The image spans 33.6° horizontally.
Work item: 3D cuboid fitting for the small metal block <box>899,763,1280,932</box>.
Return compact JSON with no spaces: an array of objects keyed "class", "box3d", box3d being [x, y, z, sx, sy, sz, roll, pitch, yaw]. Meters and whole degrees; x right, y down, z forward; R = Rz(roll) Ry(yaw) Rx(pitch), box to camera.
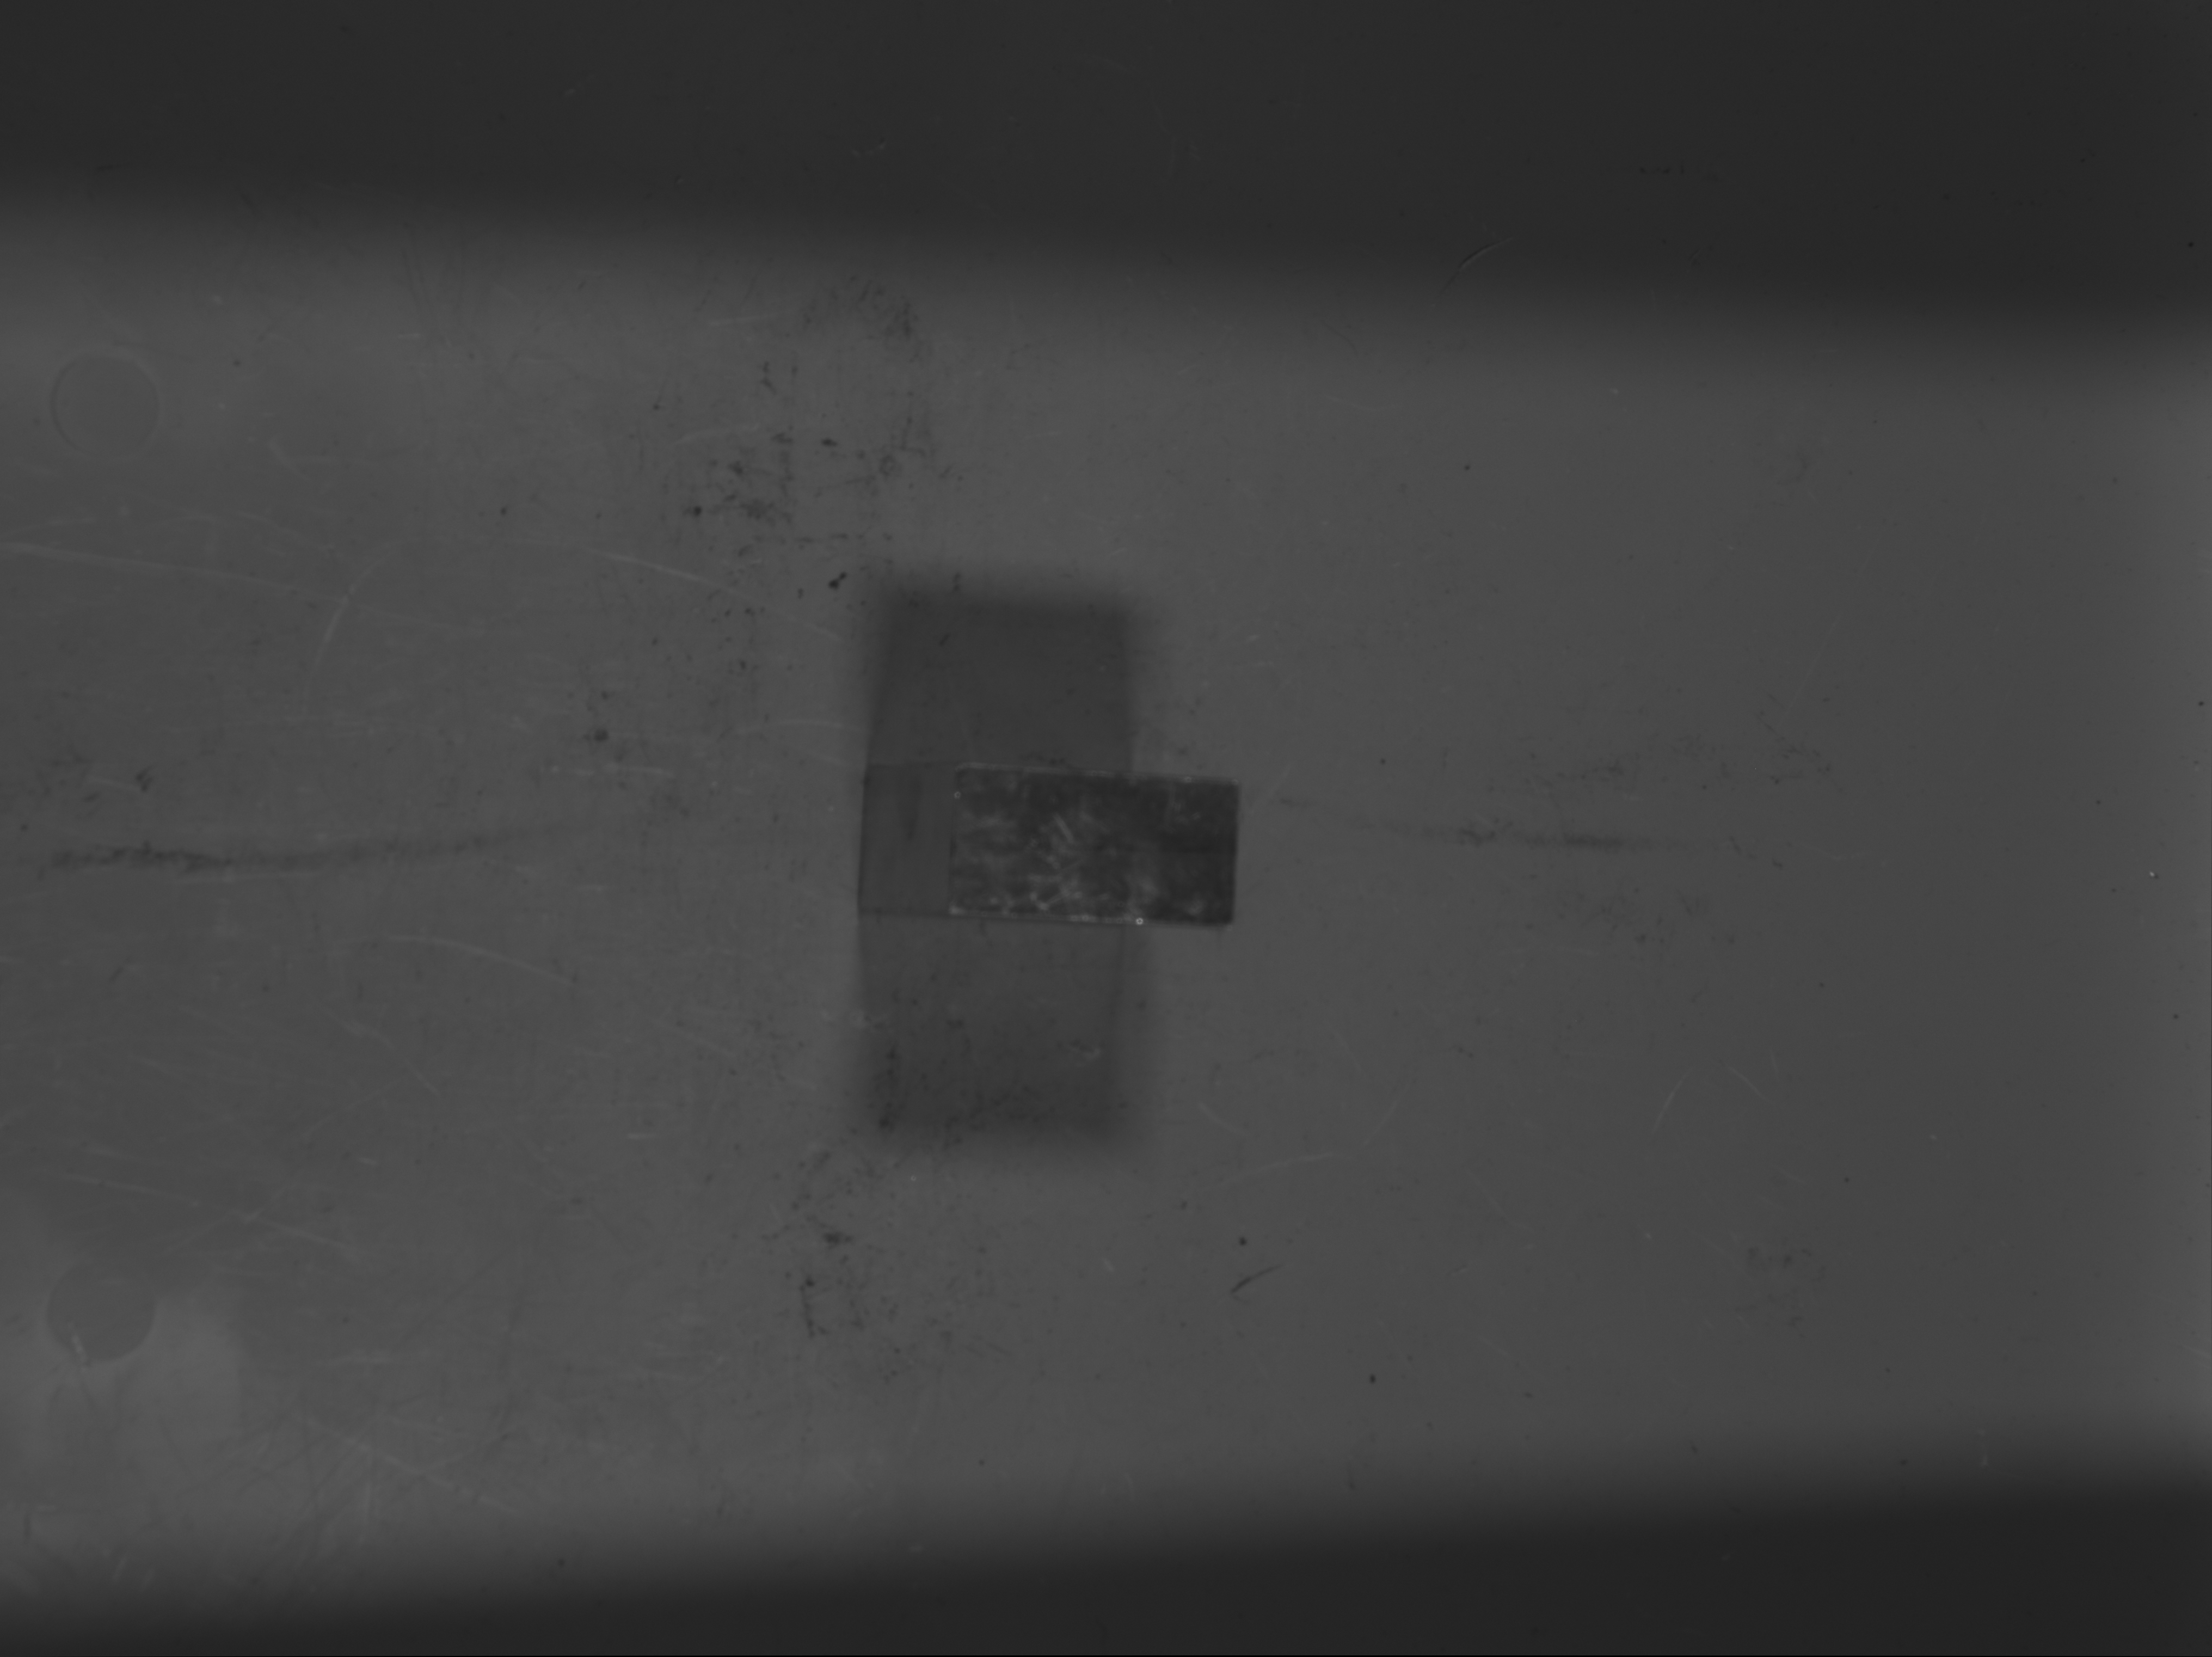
[{"class":"small metal block","box3d":[-0.004,0.003,0.626,0.050,0.050,0.025,4,88,-20]}]
